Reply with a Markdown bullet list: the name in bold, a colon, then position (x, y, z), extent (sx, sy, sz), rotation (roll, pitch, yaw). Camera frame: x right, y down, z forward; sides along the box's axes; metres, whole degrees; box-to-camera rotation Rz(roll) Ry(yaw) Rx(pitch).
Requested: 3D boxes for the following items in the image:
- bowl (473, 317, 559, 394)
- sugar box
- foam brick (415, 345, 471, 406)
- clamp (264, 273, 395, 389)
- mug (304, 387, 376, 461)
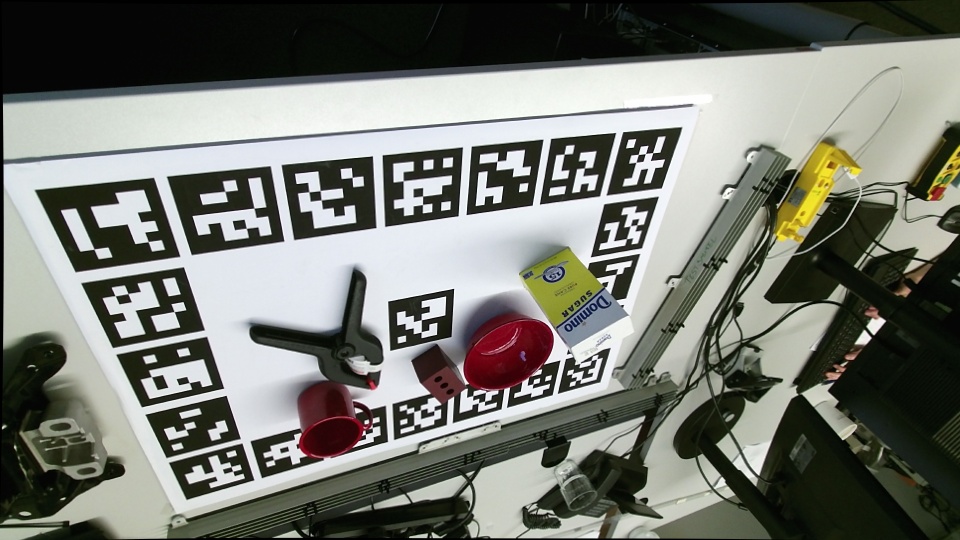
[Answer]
- **bowl**: position (0.053, 0.133, 0.894), extent (0.162, 0.055, 0.161), rotation (-13, 127, -17)
- **sugar box**: position (0.150, 0.042, 0.798), extent (0.093, 0.176, 0.045), rotation (-30, 129, -3)
- **foam brick**: position (-0.060, 0.172, 0.876), extent (0.053, 0.051, 0.078), rotation (-33, 130, -3)
- **clamp**: position (-0.181, 0.115, 0.769), extent (0.166, 0.036, 0.203), rotation (-31, 130, -6)
- **mug**: position (-0.210, 0.236, 0.817), extent (0.118, 0.081, 0.093), rotation (15, 115, -30)
